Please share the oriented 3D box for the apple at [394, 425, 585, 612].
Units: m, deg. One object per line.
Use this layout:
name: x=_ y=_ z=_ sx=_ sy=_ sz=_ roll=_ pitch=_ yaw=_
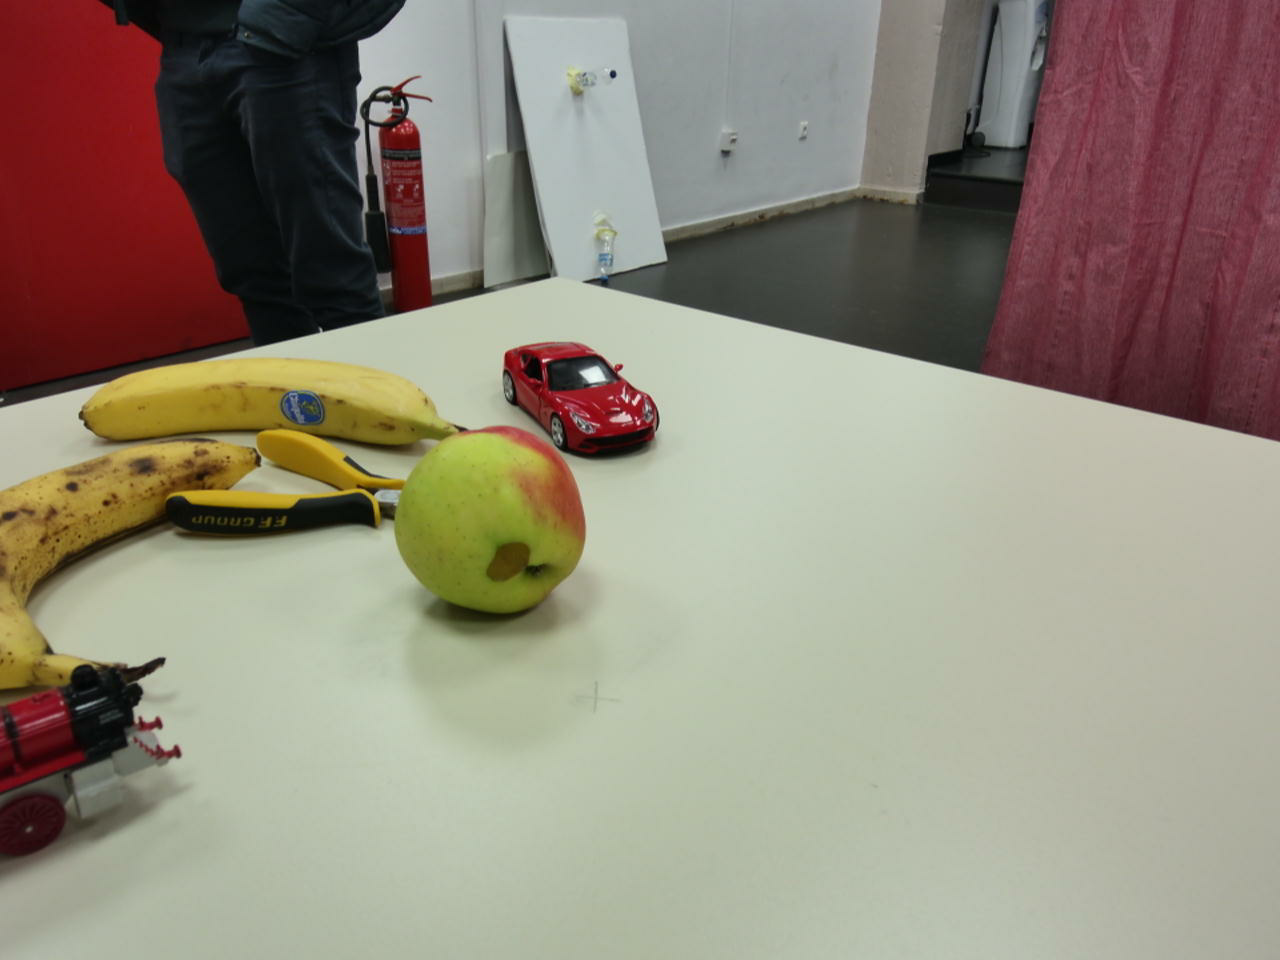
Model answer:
apple: x=-0.059 y=0.015 z=0.406 sx=0.075 sy=0.074 sz=0.075 roll=9 pitch=24 yaw=18
